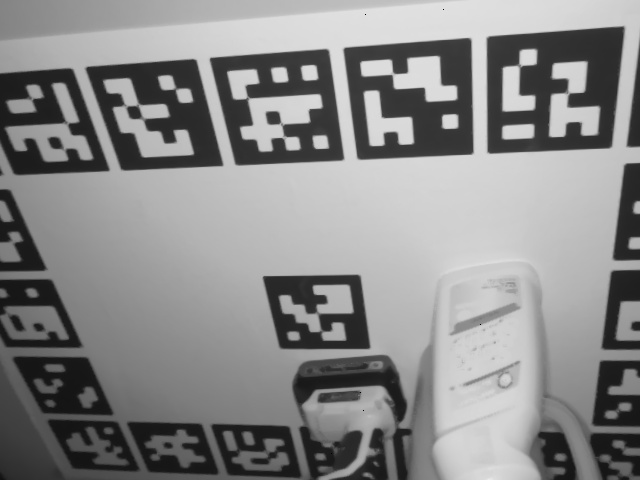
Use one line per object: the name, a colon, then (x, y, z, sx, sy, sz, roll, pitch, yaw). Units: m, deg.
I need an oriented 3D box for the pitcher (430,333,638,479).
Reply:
pitcher: (0.169, 0.179, 0.611, 0.186, 0.245, 0.133, -28, 112, 23)

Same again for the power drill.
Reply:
power drill: (0.009, 0.199, 0.658, 0.183, 0.189, 0.057, -5, 118, 19)

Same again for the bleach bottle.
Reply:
bleach bottle: (0.161, 0.103, 0.542, 0.102, 0.253, 0.067, -10, 119, 15)
